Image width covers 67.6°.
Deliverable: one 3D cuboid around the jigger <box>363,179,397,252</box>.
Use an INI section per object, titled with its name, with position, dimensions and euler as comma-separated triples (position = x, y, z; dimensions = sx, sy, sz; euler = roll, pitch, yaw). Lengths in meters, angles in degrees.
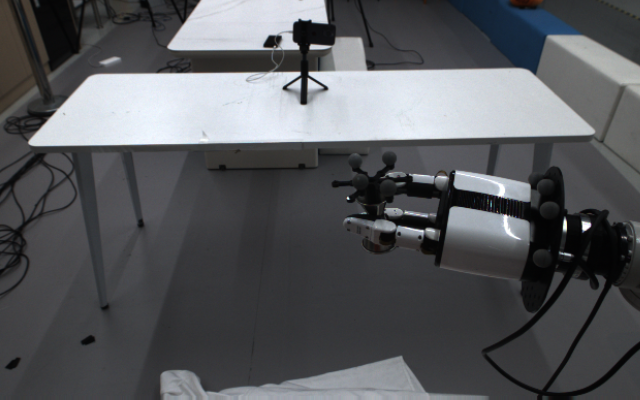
[jigger]
position = 0.068, 0.020, 0.568
dimensions = 0.043, 0.071, 0.043
euler = -9, 31, 5
